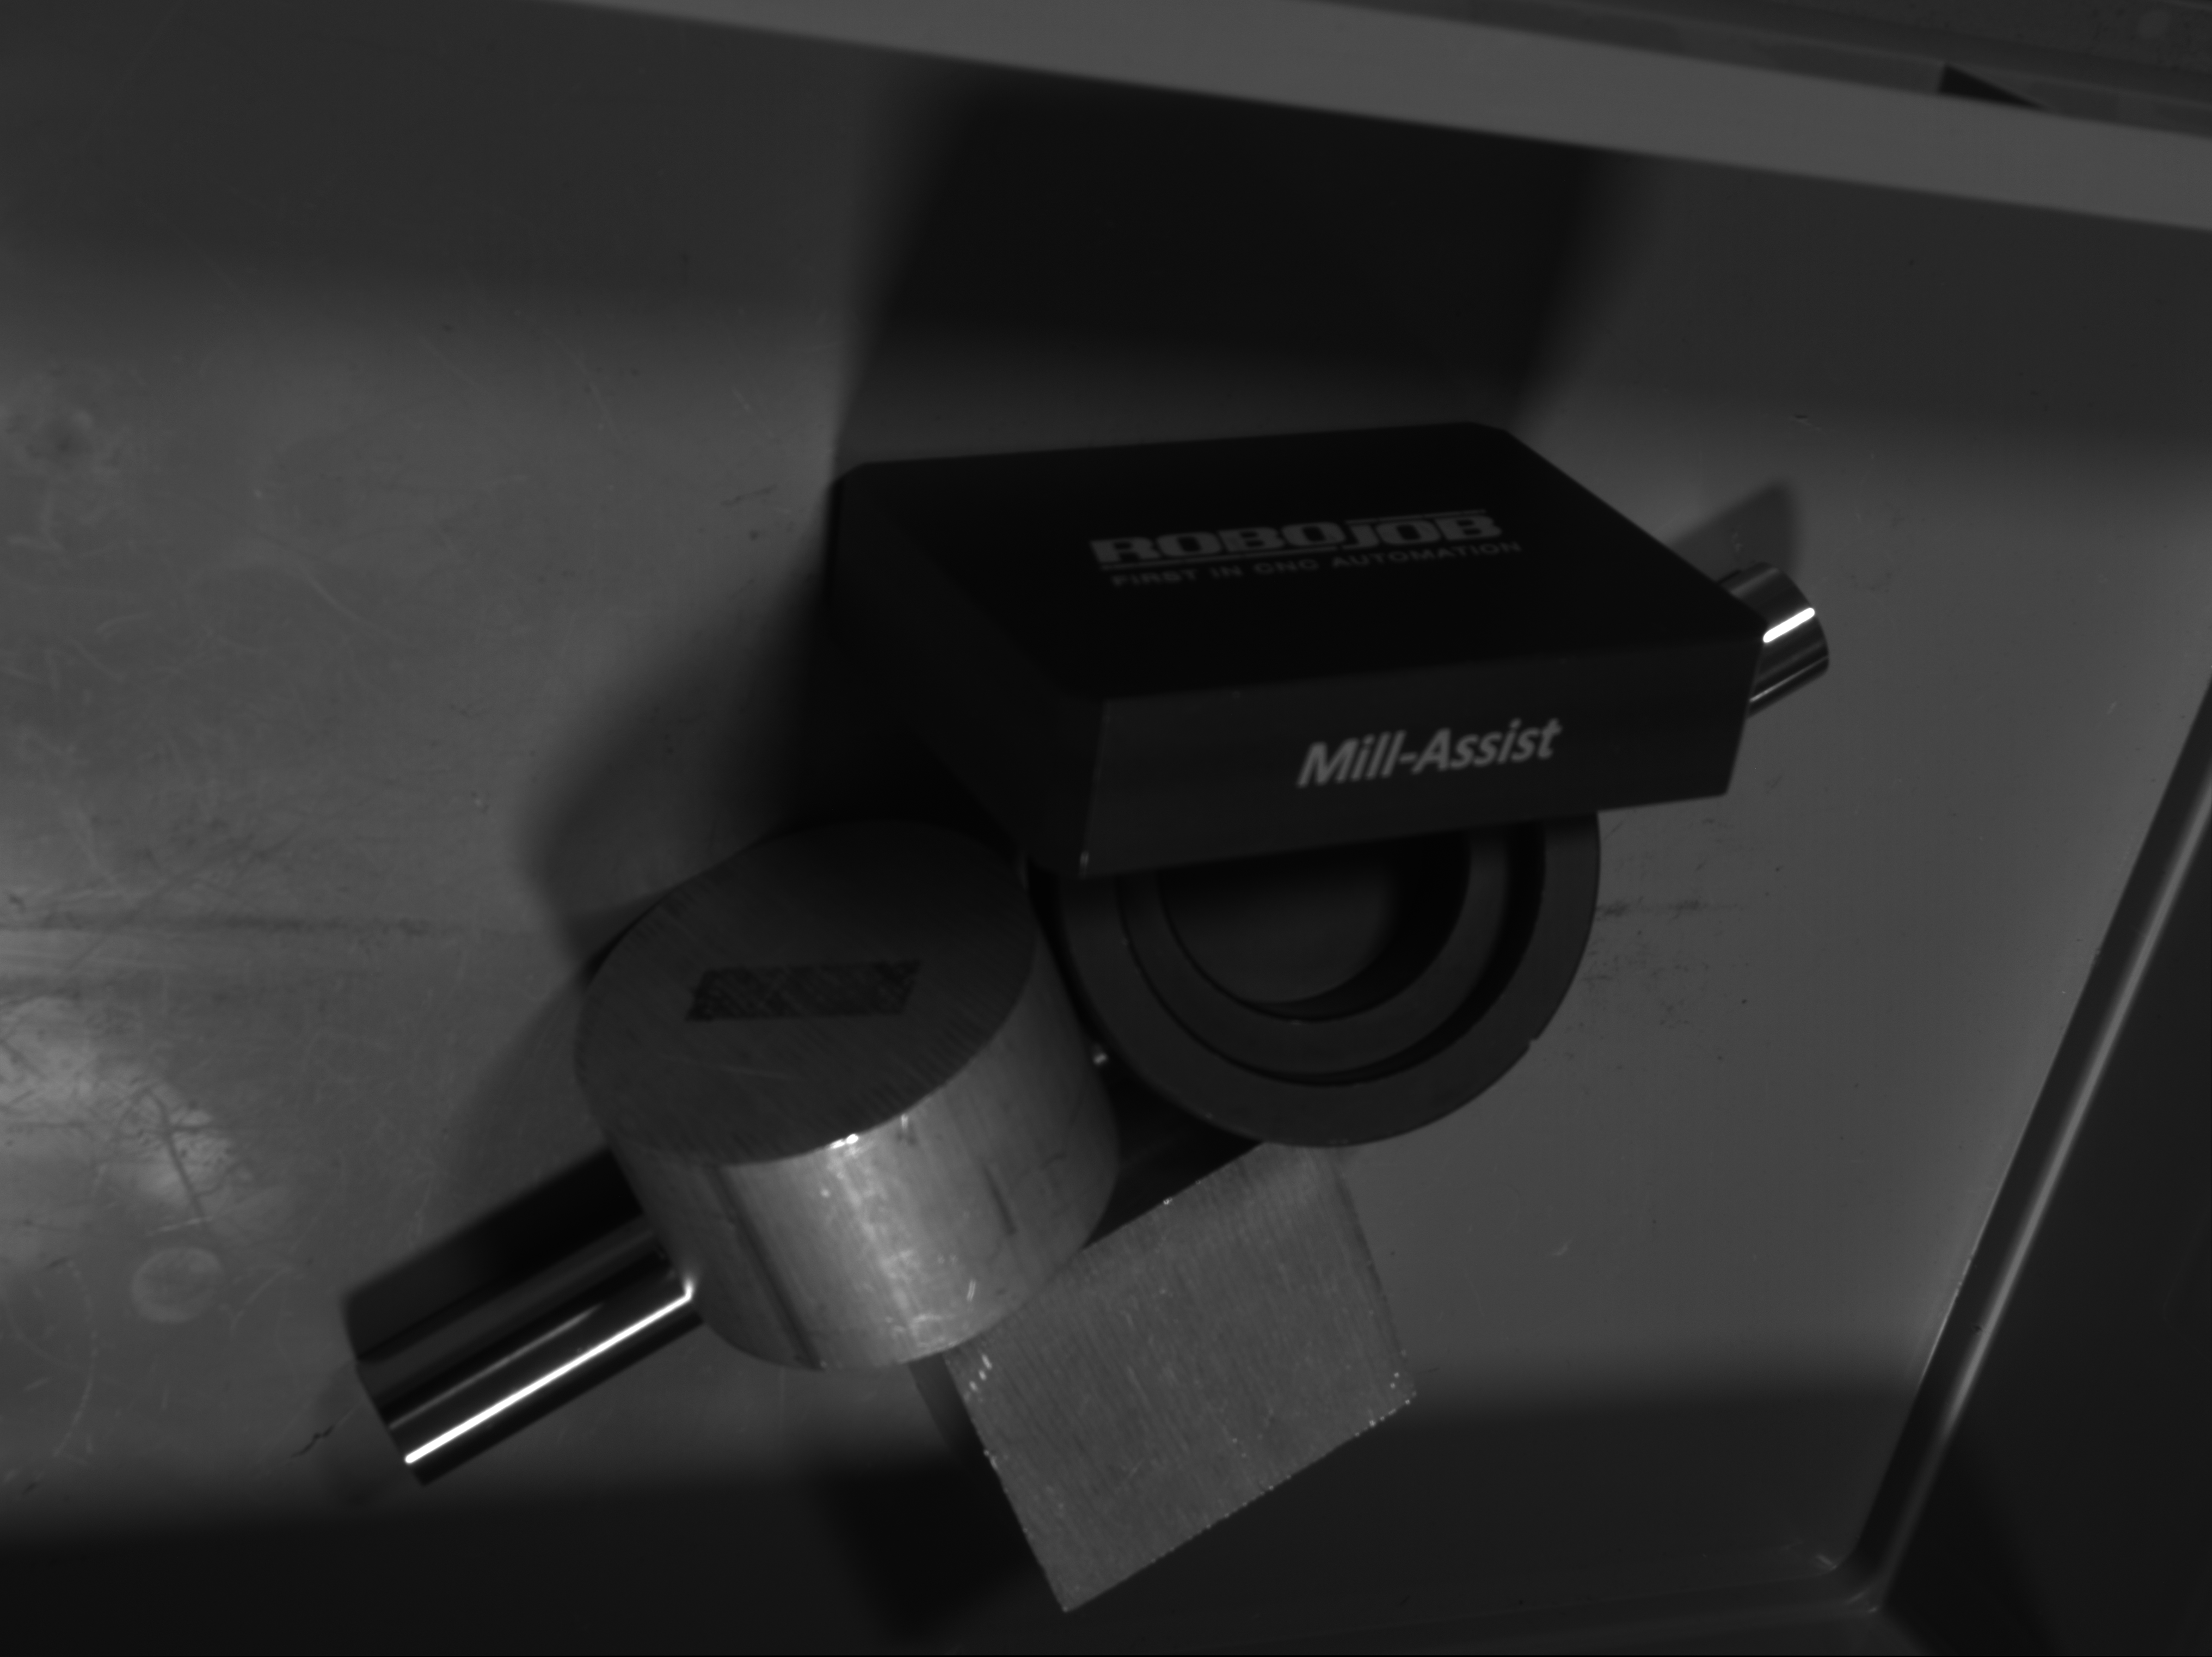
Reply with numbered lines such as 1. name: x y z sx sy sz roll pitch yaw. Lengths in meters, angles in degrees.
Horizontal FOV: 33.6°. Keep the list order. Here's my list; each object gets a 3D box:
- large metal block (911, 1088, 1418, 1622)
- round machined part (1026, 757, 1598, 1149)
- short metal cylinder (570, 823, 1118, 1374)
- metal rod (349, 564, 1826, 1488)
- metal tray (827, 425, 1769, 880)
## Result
1. large metal block: 0.004 0.088 0.688 0.080 0.050 0.080 -29 129 -12
2. round machined part: 0.033 0.005 0.643 0.098 0.042 0.098 -1 93 -15
3. short metal cylinder: -0.043 0.045 0.616 0.080 0.080 0.050 -30 129 -11
4. metal rod: 0.002 0.032 0.671 0.300 0.025 0.025 -29 129 -12
5. metal tray: 0.031 -0.032 0.603 0.130 0.090 0.030 -7 121 -27
